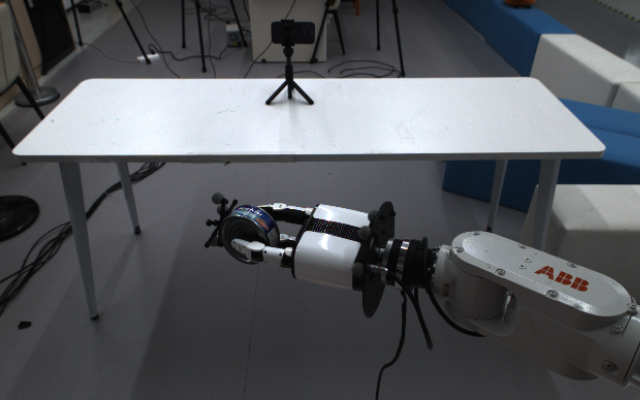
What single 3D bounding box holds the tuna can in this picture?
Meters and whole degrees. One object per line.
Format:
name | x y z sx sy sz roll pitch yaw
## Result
tuna can | -0.103 0.049 0.714 0.085 0.085 0.034 13 31 16
